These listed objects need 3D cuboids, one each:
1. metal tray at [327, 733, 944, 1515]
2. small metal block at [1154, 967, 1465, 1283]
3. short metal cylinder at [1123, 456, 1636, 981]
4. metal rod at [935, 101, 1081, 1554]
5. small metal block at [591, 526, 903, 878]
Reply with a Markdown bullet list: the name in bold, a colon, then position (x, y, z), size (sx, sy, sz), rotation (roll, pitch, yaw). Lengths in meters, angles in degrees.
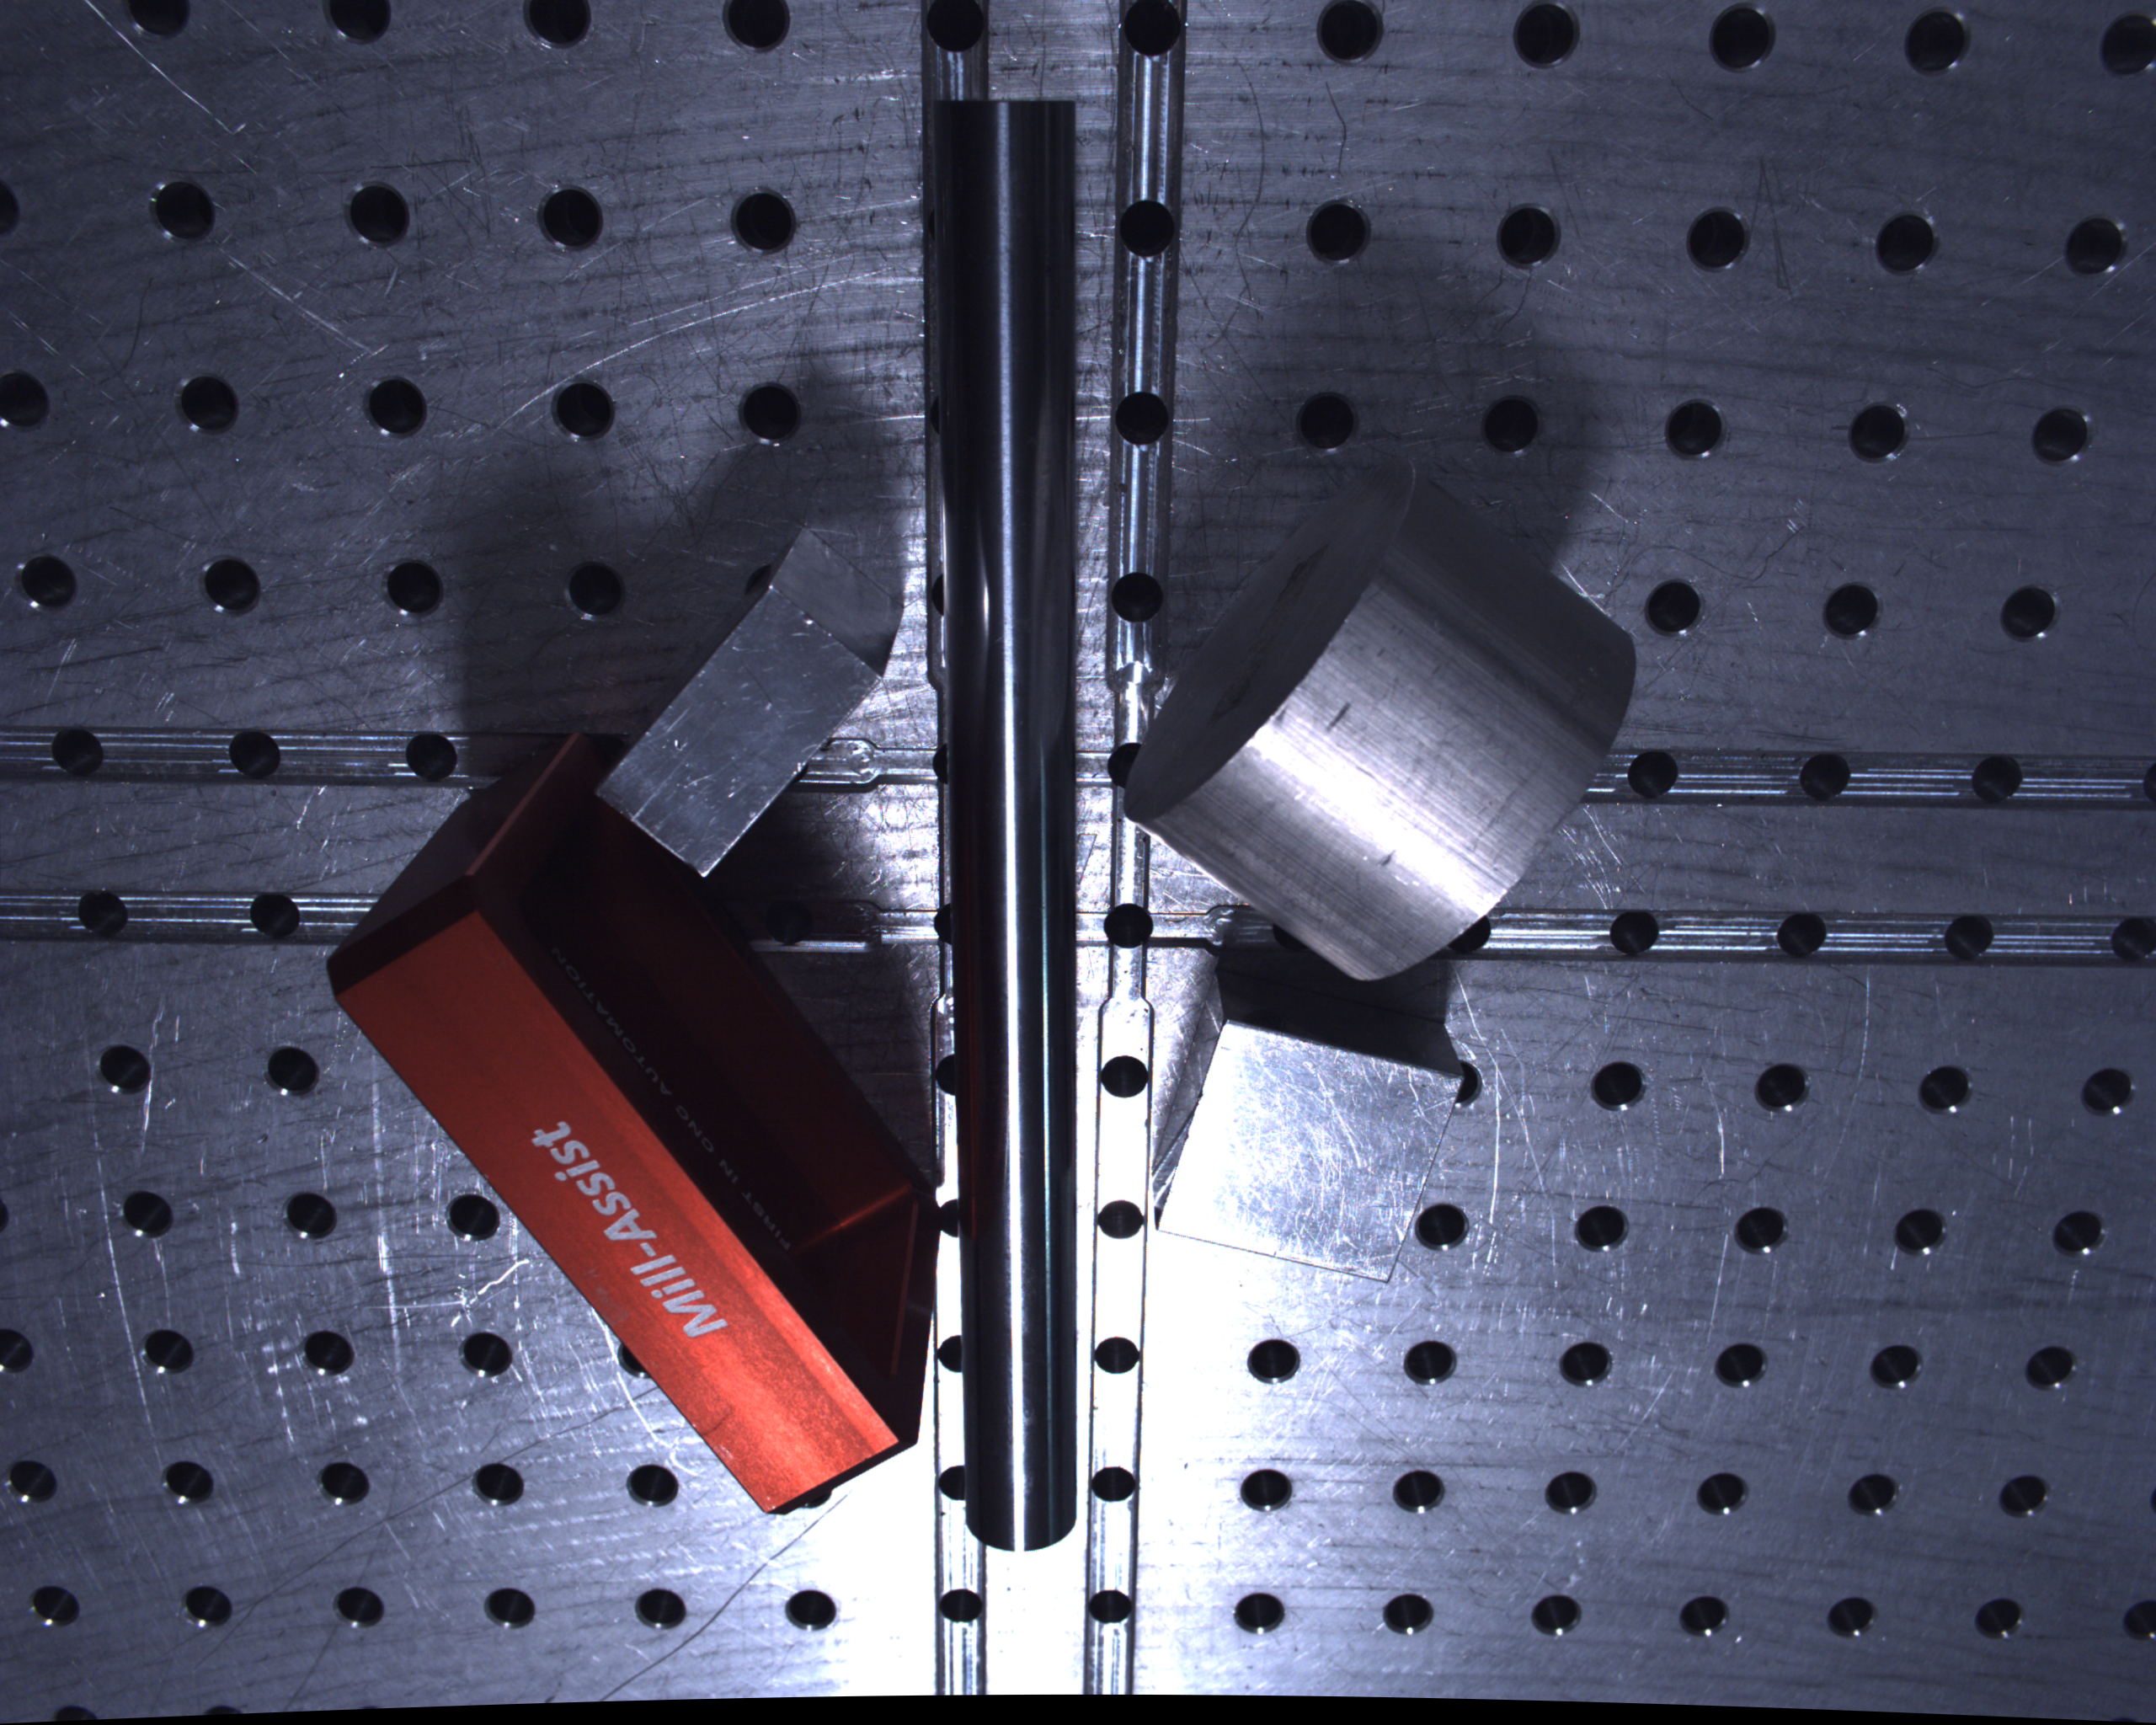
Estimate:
- **metal tray**: position (-0.076, 0.047, 0.394), size (0.030, 0.090, 0.130), rotation (-31, 108, 10)
- **small metal block**: position (0.047, 0.055, 0.435), size (0.050, 0.025, 0.050), rotation (14, 109, -6)
- **short metal cylinder**: position (0.053, -0.026, 0.375), size (0.050, 0.080, 0.080), rotation (36, 106, -13)
- **metal rod**: position (-0.012, 0.007, 0.415), size (0.025, 0.025, 0.298), rotation (0, 110, 0)
- **small metal block**: position (-0.060, -0.031, 0.387), size (0.025, 0.050, 0.050), rotation (40, 105, -14)
